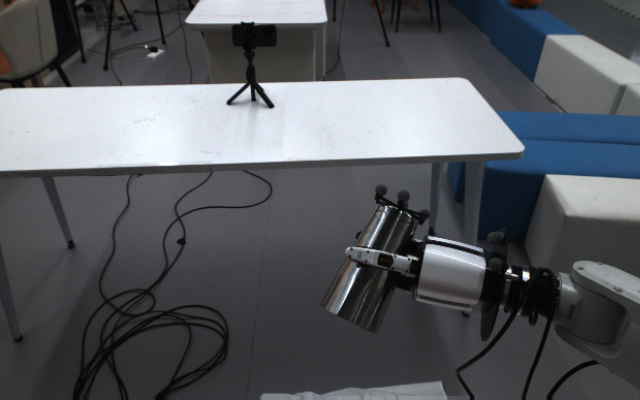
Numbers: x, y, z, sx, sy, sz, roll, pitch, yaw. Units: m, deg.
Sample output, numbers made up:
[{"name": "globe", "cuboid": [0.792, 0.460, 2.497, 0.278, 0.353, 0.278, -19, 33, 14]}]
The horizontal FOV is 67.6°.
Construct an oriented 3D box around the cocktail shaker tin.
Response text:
[{"name": "cocktail shaker tin", "cuboid": [0.080, 0.093, 0.702, 0.093, 0.093, 0.170, 21, 81, 25]}]
